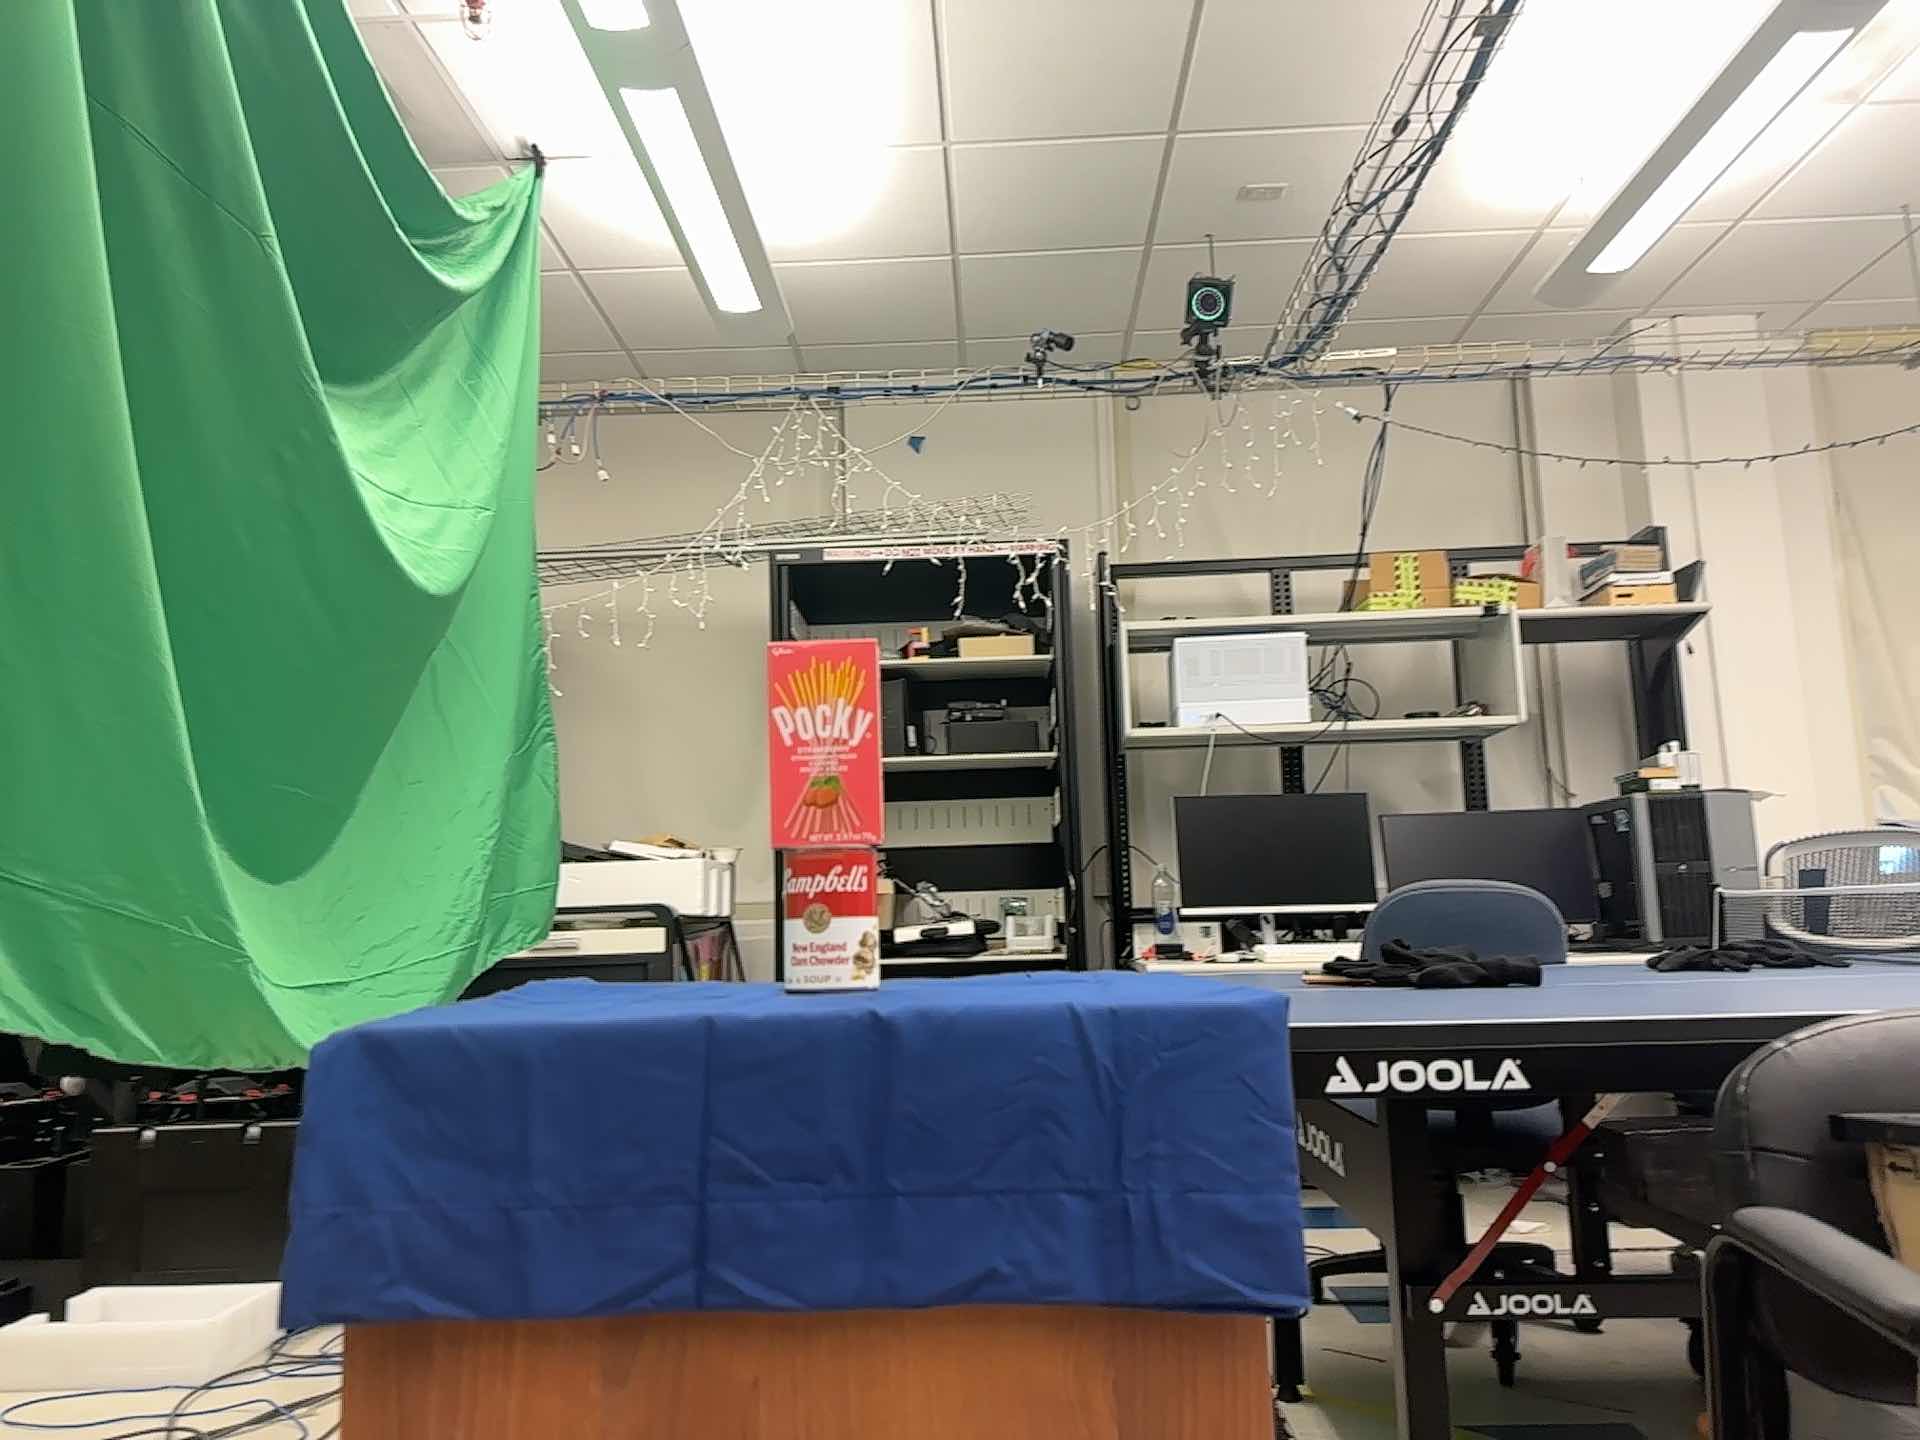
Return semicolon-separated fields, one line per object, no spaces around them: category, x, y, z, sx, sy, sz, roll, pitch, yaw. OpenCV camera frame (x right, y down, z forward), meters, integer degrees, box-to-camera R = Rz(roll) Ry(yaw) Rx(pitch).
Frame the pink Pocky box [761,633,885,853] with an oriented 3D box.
pink Pocky box;-0.100;0.016;0.971;0.084;0.155;0.029;-3;-8;7

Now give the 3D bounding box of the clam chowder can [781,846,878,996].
clam chowder can;-0.093;0.143;0.957;0.068;0.102;0.068;-2;-9;0
